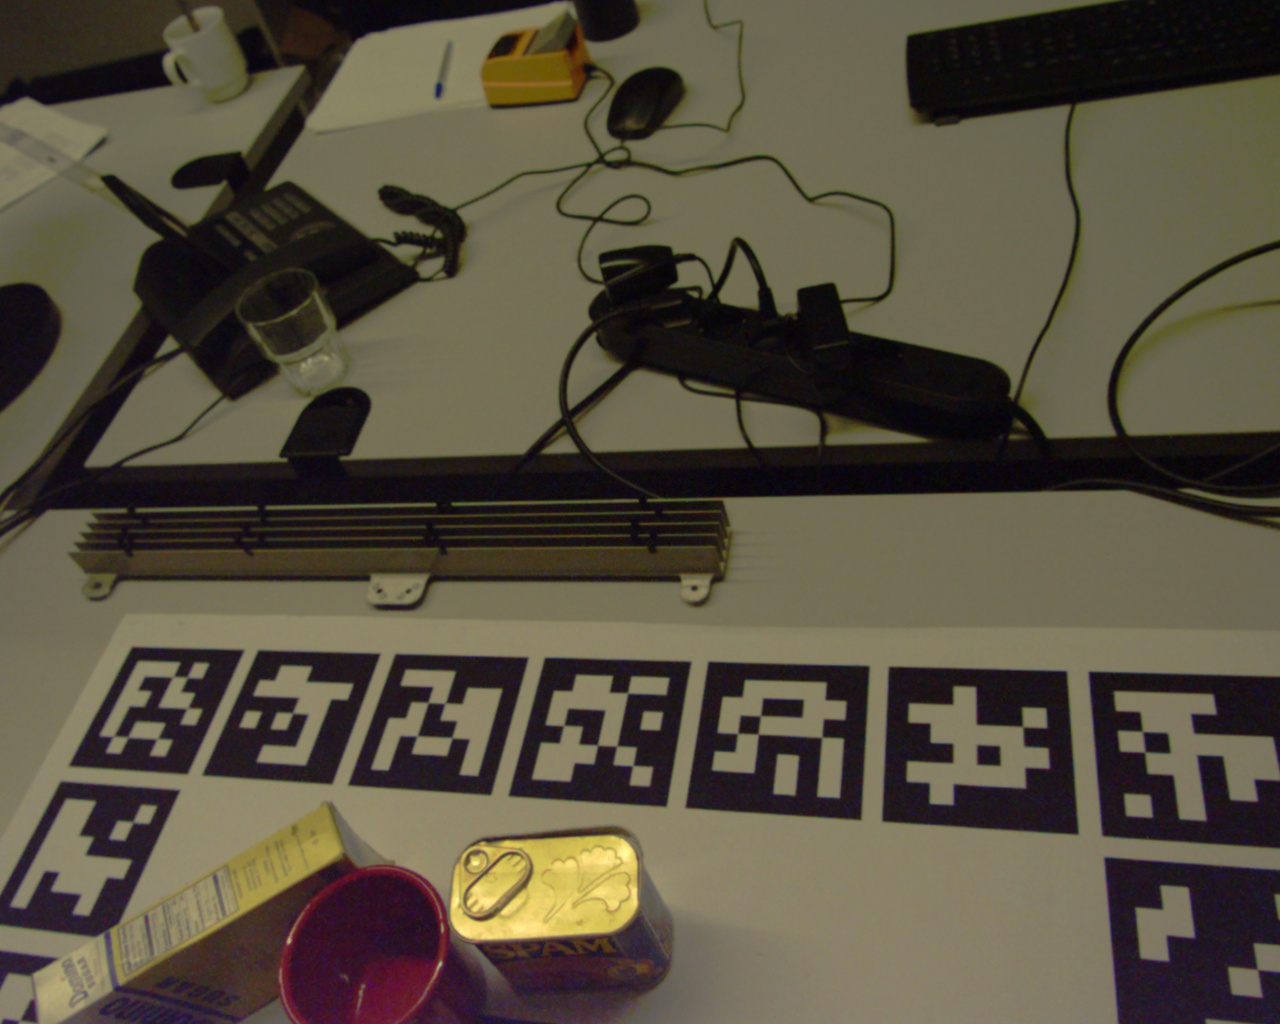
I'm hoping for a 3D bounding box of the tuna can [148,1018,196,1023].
[{"bbox_3d":[-0.262,0.330,0.631,0.086,0.033,0.086,-10,51,11],"label":"tuna can"}]

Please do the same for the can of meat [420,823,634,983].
[{"bbox_3d":[-0.059,0.219,0.632,0.102,0.083,0.058,-7,48,11],"label":"can of meat"}]

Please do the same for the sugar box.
[{"bbox_3d":[-0.251,0.248,0.666,0.176,0.092,0.046,-29,47,-9],"label":"sugar box"}]

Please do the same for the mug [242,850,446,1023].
[{"bbox_3d":[-0.165,0.256,0.627,0.094,0.081,0.116,22,62,31],"label":"mug"}]
